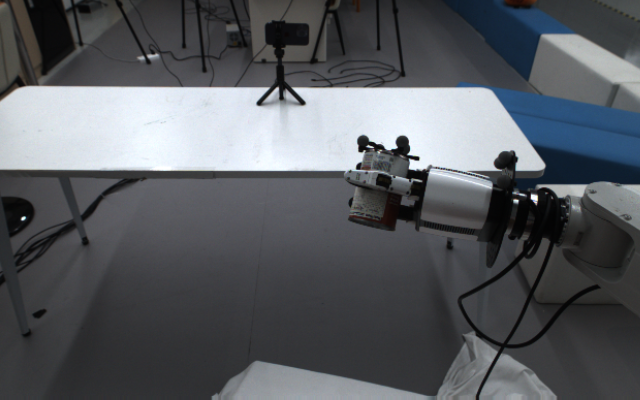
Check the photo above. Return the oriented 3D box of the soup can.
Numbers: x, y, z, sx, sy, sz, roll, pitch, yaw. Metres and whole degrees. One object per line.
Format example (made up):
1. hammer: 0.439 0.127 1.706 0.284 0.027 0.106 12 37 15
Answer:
1. soup can: 0.084 -0.014 0.681 0.067 0.101 0.067 13 -6 1
